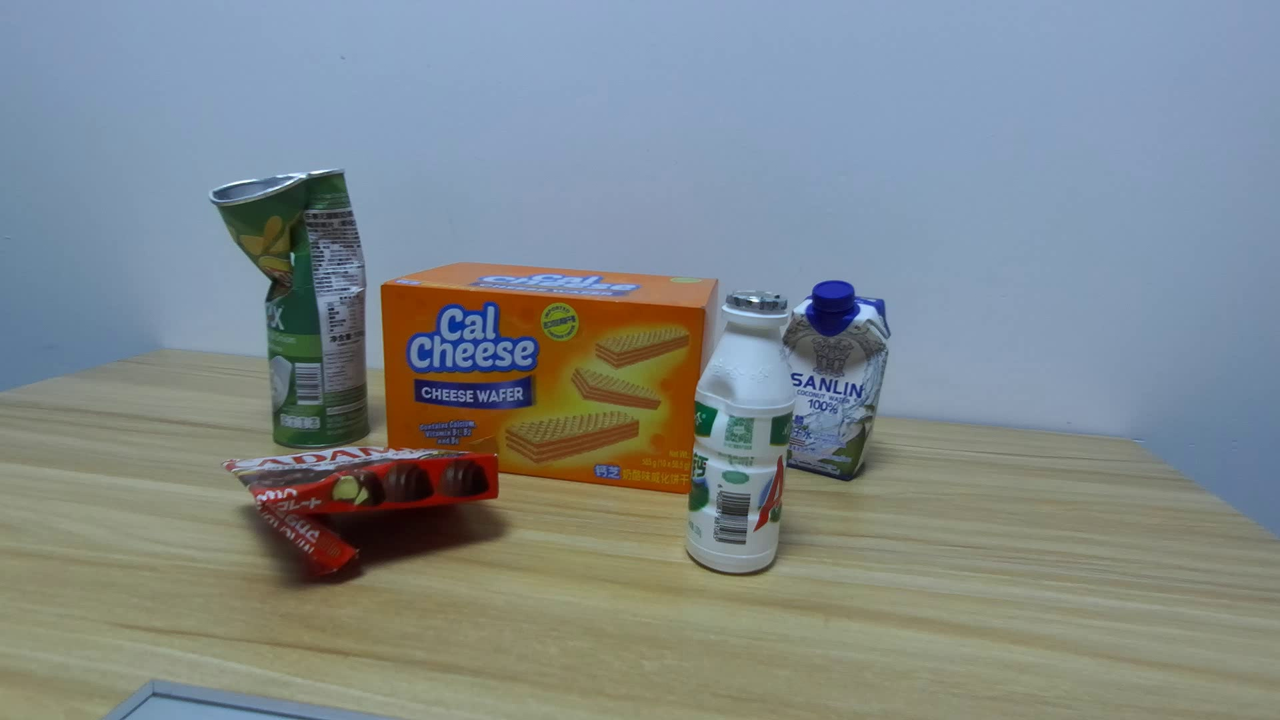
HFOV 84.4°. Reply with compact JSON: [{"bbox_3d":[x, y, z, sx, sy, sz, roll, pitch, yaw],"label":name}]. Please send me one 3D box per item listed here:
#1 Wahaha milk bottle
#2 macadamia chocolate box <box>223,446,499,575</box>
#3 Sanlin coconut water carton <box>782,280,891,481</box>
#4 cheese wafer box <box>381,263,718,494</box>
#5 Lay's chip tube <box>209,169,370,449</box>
[{"bbox_3d":[0.054,0.043,0.376,0.053,0.136,0.053,3,16,0],"label":"Wahaha milk bottle"},{"bbox_3d":[-0.154,0.070,0.396,0.127,0.056,0.111,-8,18,-35],"label":"macadamia chocolate box"},{"bbox_3d":[0.139,0.012,0.513,0.077,0.142,0.058,10,21,28],"label":"Sanlin coconut water carton"},{"bbox_3d":[-0.056,0.003,0.535,0.221,0.129,0.148,5,15,9],"label":"cheese wafer box"},{"bbox_3d":[-0.244,-0.033,0.509,0.079,0.199,0.071,8,22,23],"label":"Lay's chip tube"}]
